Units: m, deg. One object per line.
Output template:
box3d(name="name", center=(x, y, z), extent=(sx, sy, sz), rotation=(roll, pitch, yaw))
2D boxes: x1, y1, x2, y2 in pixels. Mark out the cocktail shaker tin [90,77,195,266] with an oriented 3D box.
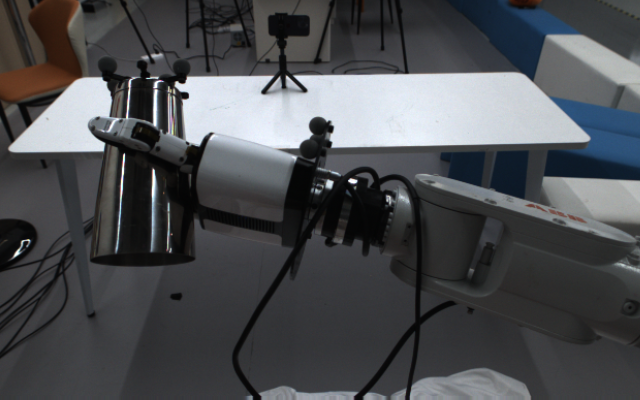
box3d(name="cocktail shaker tin", center=(-0.167, -0.025, 0.468), extent=(0.093, 0.093, 0.170), rotation=(-3, 76, -7))
